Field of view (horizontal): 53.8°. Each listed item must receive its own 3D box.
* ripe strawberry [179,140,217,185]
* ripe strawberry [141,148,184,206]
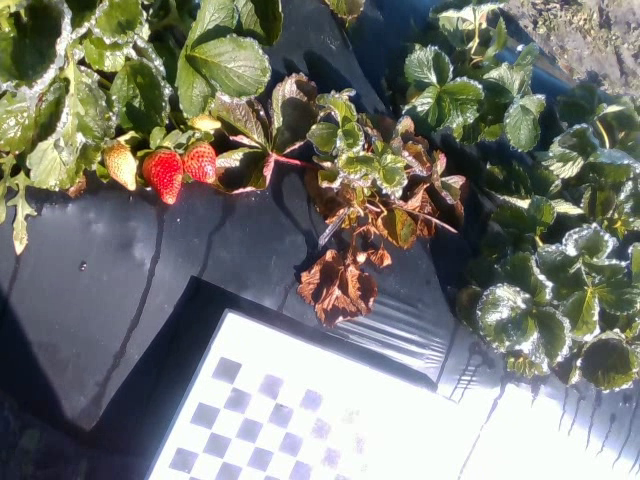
[{"bbox_3d":[-0.105,-0.068,0.557,0.036,0.041,0.030,-39,13,-7],"label":"ripe strawberry"},{"bbox_3d":[-0.131,-0.049,0.533,0.036,0.052,0.040,-15,-24,-15],"label":"ripe strawberry"}]
